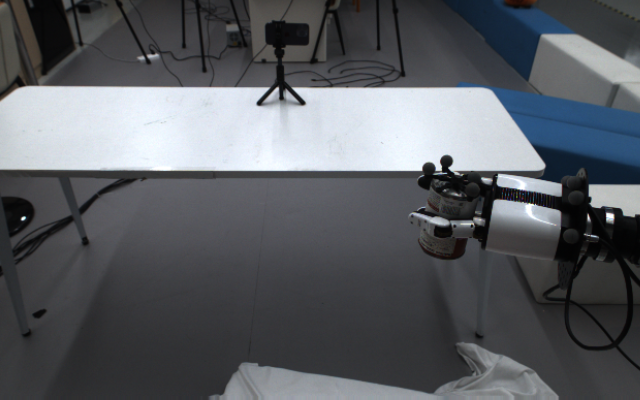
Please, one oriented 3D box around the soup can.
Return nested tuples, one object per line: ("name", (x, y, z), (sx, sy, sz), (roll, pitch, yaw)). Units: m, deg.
("soup can", (0.180, 0.023, 0.677), (0.067, 0.101, 0.067), (4, 30, -2))
